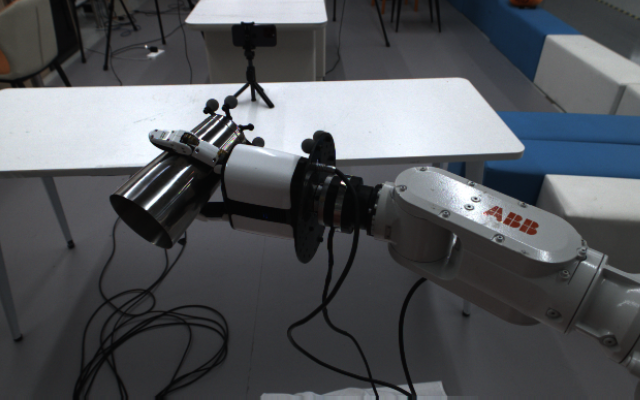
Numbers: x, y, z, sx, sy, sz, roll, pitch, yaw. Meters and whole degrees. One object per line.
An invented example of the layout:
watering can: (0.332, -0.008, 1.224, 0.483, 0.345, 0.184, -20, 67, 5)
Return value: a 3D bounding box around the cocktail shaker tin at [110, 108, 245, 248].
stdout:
cocktail shaker tin: (-0.166, -0.036, 0.608, 0.093, 0.093, 0.170, 19, 55, 23)
